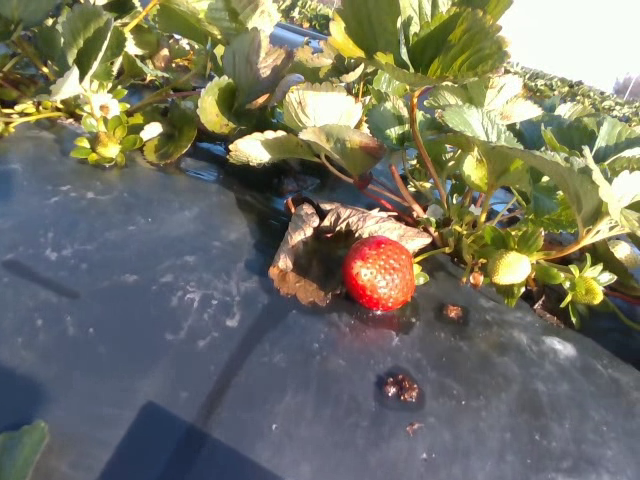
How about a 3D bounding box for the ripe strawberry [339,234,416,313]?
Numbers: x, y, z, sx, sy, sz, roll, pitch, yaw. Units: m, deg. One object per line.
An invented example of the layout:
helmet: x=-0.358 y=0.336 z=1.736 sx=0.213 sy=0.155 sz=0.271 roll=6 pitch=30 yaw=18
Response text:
ripe strawberry: x=0.021 y=0.016 z=0.257 sx=0.047 sy=0.038 sz=0.054 roll=45 pitch=25 yaw=24
